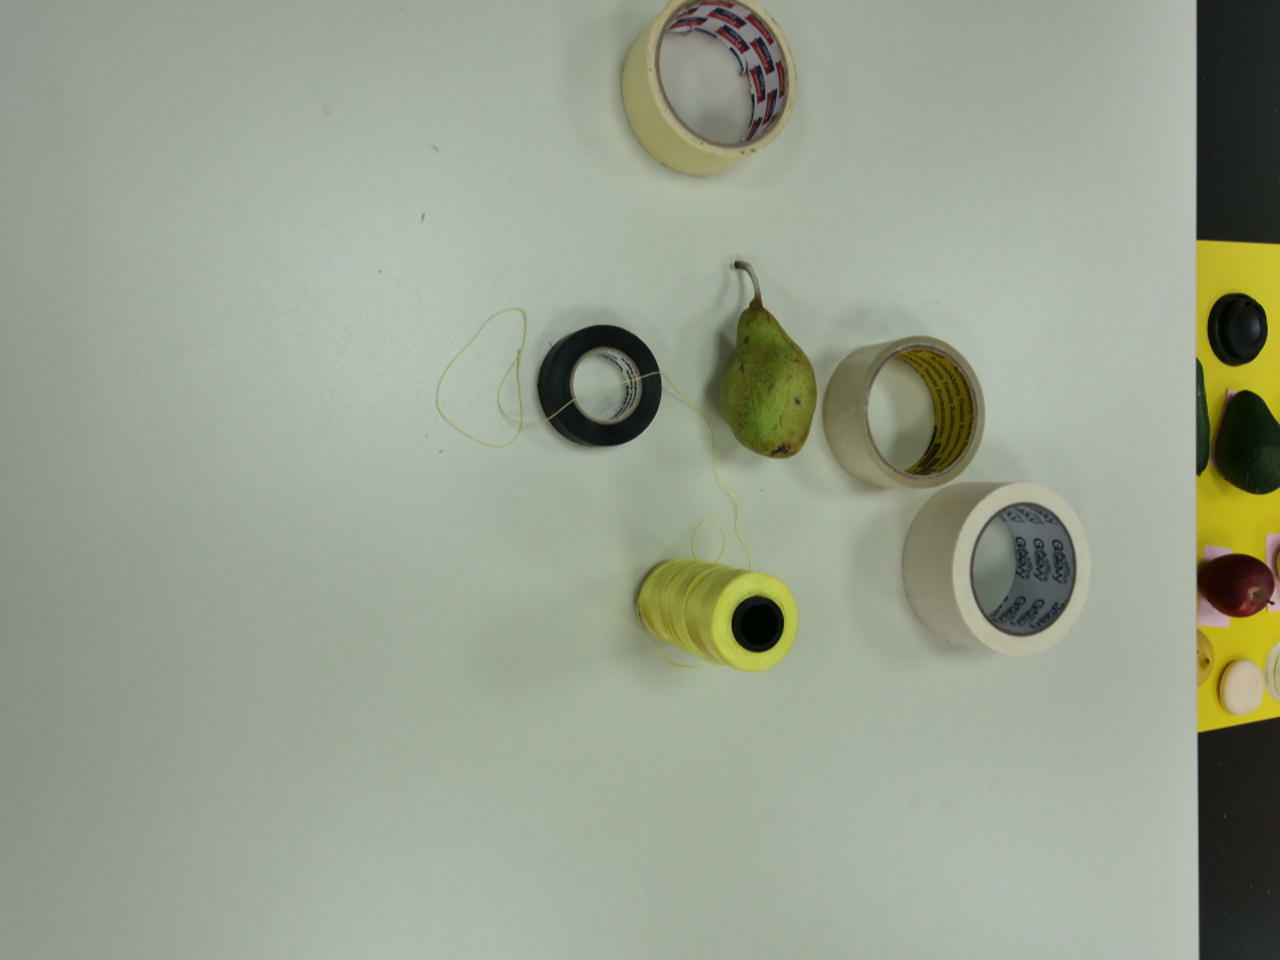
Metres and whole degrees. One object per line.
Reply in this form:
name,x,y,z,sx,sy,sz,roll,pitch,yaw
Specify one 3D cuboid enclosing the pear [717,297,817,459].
pear,0.080,-0.068,0.587,0.056,0.056,0.111,15,84,-21
